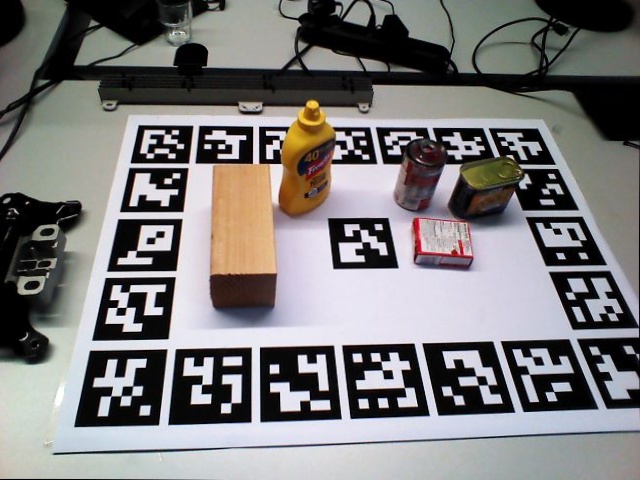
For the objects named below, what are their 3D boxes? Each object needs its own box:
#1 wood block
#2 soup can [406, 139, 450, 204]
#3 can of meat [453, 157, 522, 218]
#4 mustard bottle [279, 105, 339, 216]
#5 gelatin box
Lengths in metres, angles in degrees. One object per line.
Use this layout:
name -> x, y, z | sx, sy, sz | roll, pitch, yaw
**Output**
wood block -> -0.105, -0.009, 0.753 | 0.091, 0.090, 0.205 | 0, 48, -6
soup can -> 0.178, -0.114, 0.834 | 0.068, 0.102, 0.067 | 2, 54, -2
can of meat -> 0.276, -0.087, 0.843 | 0.101, 0.084, 0.057 | -12, 55, -16
mustard bottle -> -0.013, -0.123, 0.788 | 0.096, 0.192, 0.058 | -22, 57, -22
gelatin box -> 0.206, 0.002, 0.797 | 0.089, 0.030, 0.073 | 5, 54, 3
